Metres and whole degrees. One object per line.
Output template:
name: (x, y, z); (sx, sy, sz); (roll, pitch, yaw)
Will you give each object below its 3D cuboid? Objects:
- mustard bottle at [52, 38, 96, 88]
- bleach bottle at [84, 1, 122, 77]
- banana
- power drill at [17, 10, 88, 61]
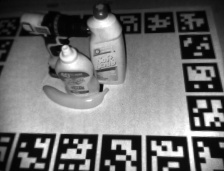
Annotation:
mustard bottle: (-0.102, -0.057, 0.562); (0.096, 0.193, 0.058); (1, 63, 7)
bleach bottle: (-0.031, -0.118, 0.559); (0.102, 0.252, 0.068); (3, 57, 9)
banana: (-0.115, 0.008, 0.627); (0.196, 0.039, 0.074); (5, 64, 11)
power drill: (-0.139, -0.131, 0.581); (0.183, 0.188, 0.057); (12, 64, 11)
